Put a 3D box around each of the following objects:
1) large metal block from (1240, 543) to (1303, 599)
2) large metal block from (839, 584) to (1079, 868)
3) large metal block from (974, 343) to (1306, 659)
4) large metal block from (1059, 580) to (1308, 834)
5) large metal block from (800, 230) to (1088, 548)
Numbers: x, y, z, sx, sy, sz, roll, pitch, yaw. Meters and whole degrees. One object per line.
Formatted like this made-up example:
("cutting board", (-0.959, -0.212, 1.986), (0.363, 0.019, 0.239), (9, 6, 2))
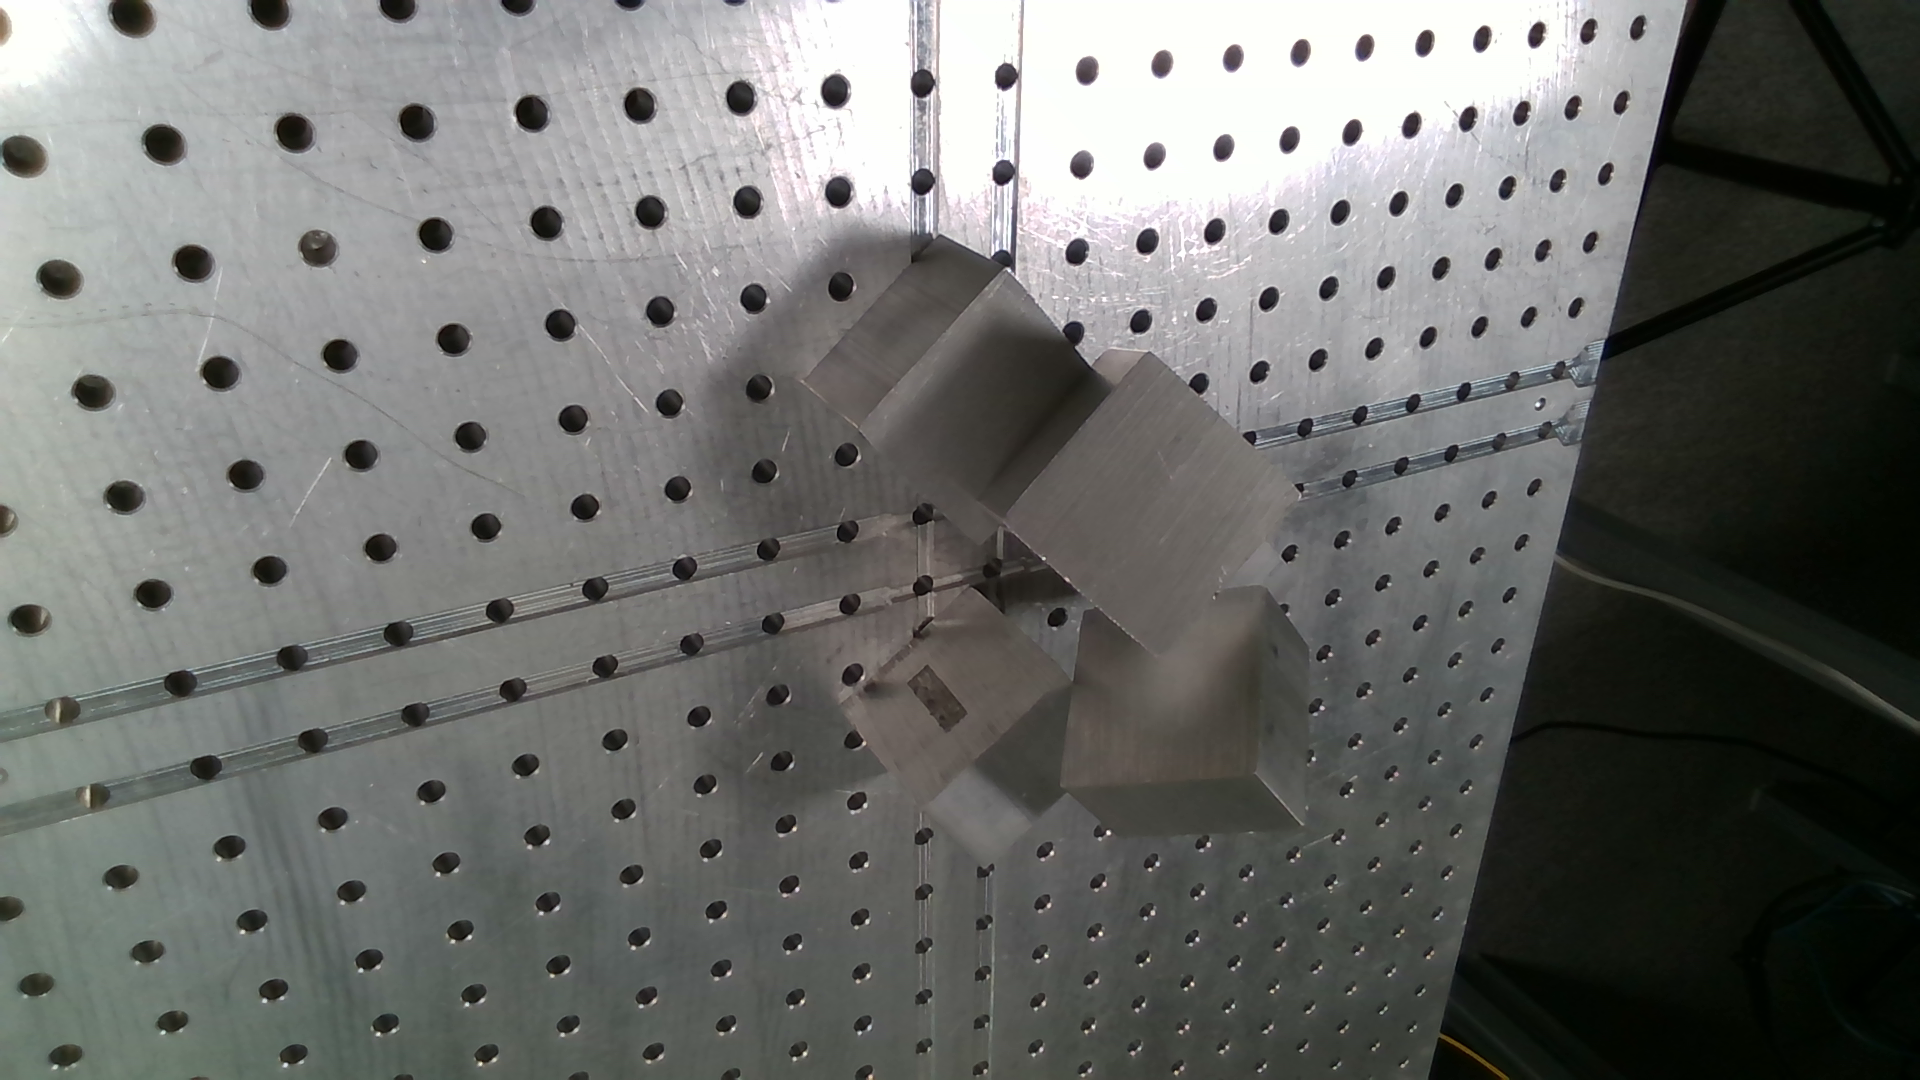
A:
("large metal block", (0.089, -0.002, 0.600), (0.050, 0.080, 0.080), (-49, 129, 0))
("large metal block", (0.007, 0.078, 0.593), (0.080, 0.080, 0.050), (-43, 129, -5))
("large metal block", (0.065, -0.016, 0.515), (0.080, 0.050, 0.080), (40, 91, -14))
("large metal block", (0.091, 0.068, 0.550), (0.050, 0.080, 0.080), (45, 45, -44))
("large metal block", (0.000, -0.058, 0.535), (0.080, 0.050, 0.080), (-47, 129, -1))
